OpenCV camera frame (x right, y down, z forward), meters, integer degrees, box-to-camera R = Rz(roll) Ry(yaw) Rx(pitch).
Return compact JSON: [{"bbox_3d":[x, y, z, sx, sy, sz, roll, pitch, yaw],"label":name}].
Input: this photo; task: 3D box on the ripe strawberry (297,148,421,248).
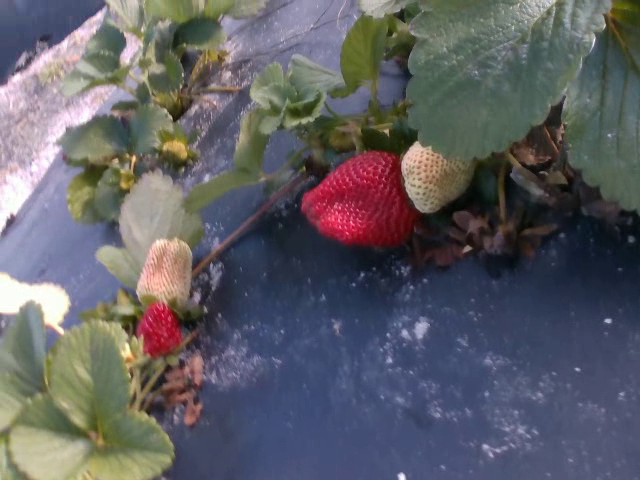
[{"bbox_3d":[0.020,-0.018,0.330,0.071,0.058,0.057,-9,-17,-18],"label":"ripe strawberry"}]
